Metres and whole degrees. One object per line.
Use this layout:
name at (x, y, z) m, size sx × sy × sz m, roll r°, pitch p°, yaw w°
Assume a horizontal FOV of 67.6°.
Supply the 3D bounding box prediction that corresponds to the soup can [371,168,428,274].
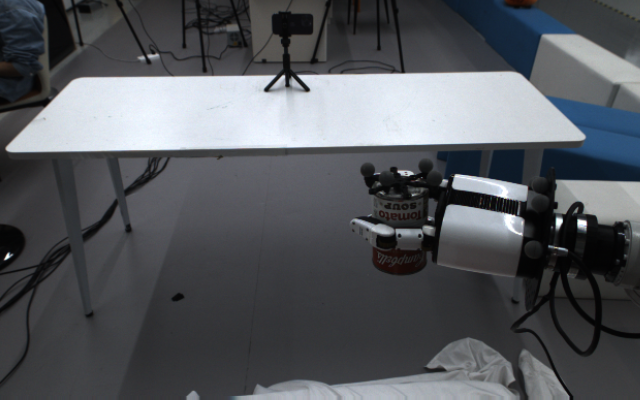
soup can at (0.098, 0.029, 0.581) m, size 0.067 × 0.101 × 0.067 m, roll -3°, pitch 26°, yaw 2°
